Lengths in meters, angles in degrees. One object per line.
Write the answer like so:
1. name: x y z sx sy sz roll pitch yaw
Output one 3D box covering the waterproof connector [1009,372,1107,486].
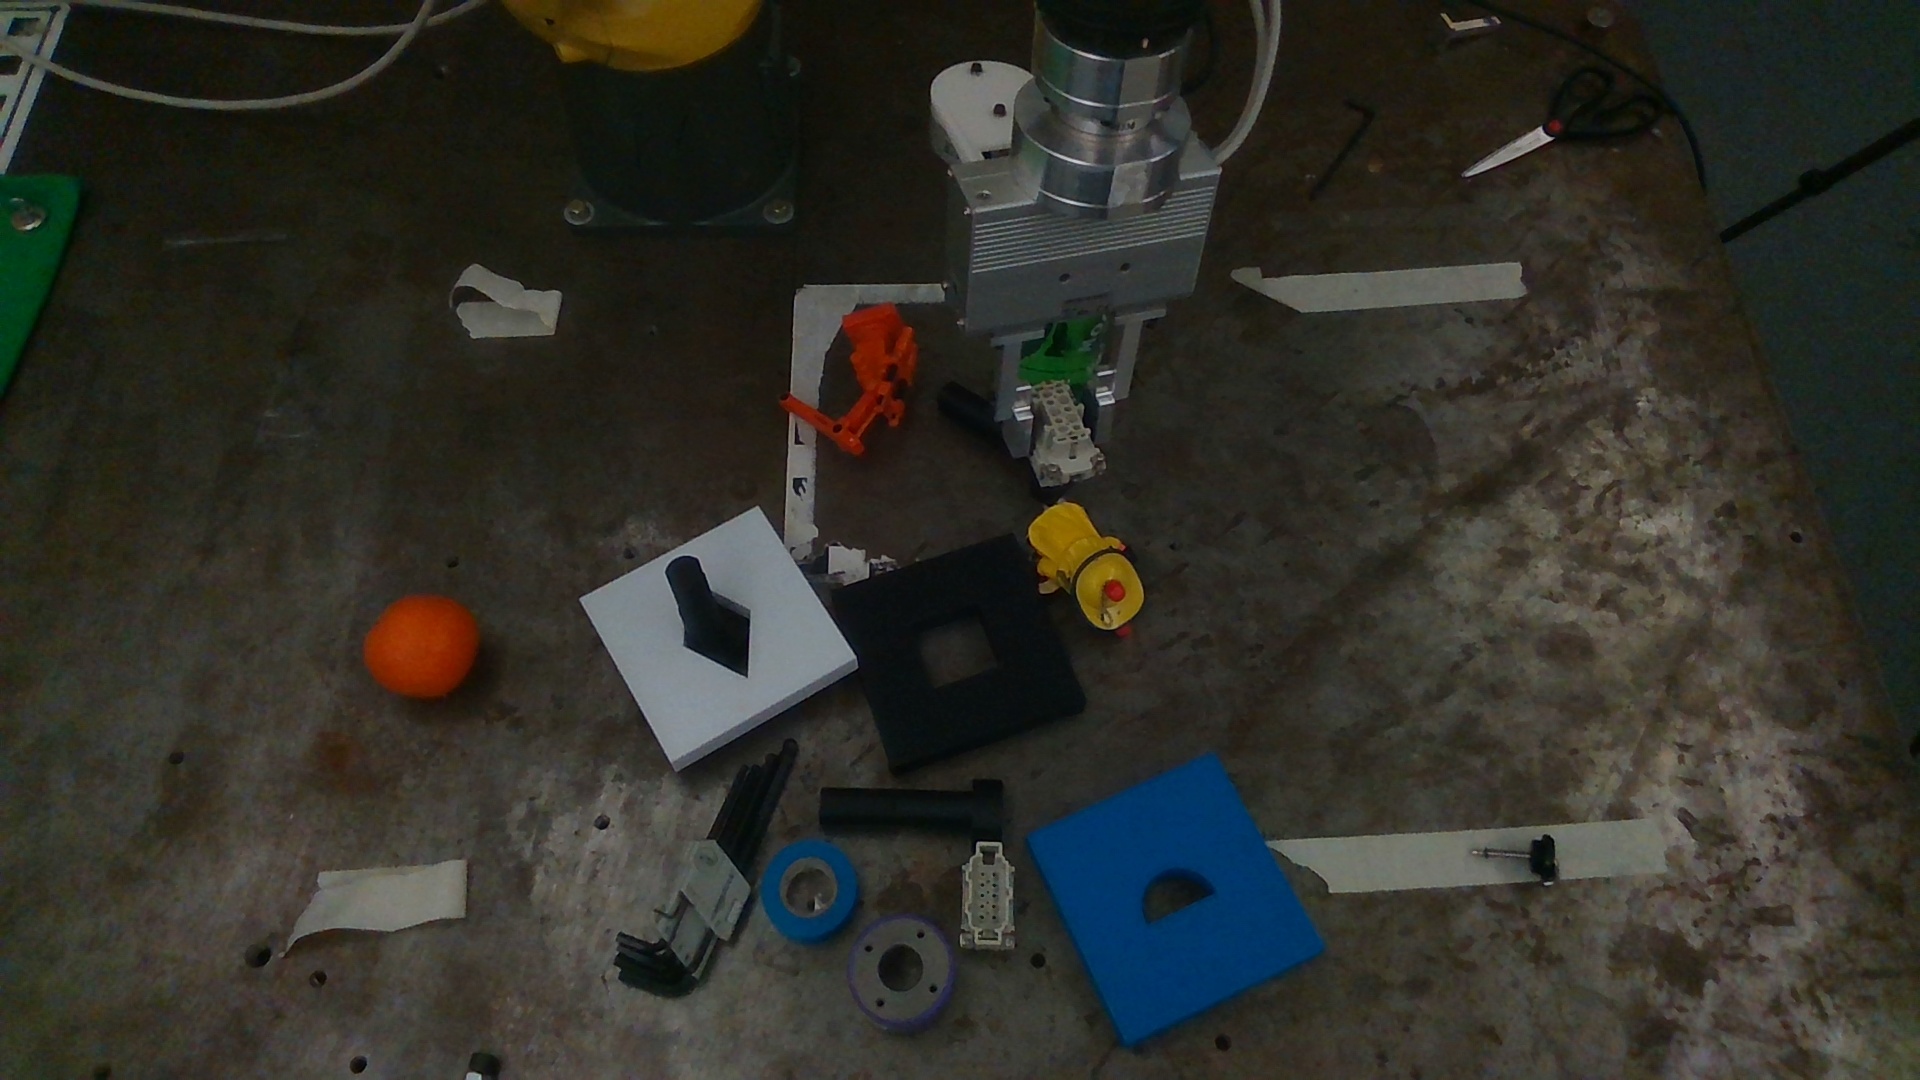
1. waterproof connector: 0.053 -0.062 0.755 0.037 0.038 0.069 -16 51 -5
